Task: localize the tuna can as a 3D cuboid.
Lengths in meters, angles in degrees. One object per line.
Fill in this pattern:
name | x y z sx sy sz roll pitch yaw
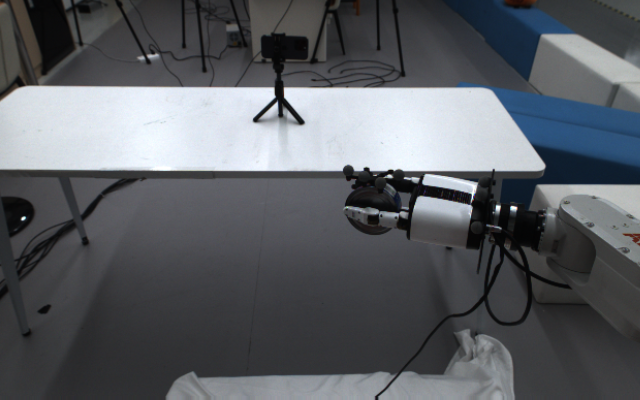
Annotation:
tuna can | 0.086 0.008 0.768 0.085 0.085 0.034 14 29 16
